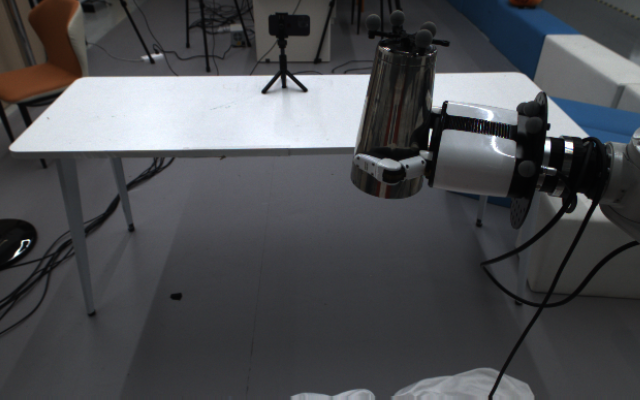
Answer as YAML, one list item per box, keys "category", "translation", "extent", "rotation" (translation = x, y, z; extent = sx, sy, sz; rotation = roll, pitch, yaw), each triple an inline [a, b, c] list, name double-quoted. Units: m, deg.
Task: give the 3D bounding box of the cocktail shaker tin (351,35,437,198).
- category: "cocktail shaker tin"
  translation: [0.091, -0.098, 0.574]
  extent: [0.093, 0.170, 0.093]
  rotation: [3, 34, -2]
